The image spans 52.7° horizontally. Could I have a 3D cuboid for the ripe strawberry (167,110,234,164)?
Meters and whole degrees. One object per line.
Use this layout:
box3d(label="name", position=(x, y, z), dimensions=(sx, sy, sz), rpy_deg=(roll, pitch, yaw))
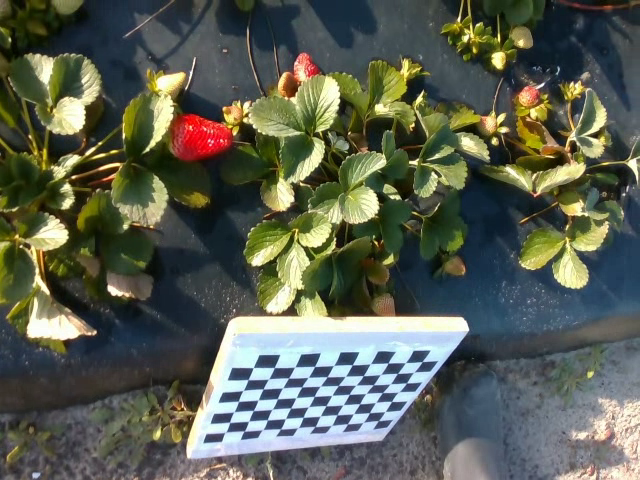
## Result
box3d(label="ripe strawberry", position=(-0.117, -0.101, 0.634), dimensions=(0.072, 0.055, 0.057), rpy_deg=(-6, -39, 1))
